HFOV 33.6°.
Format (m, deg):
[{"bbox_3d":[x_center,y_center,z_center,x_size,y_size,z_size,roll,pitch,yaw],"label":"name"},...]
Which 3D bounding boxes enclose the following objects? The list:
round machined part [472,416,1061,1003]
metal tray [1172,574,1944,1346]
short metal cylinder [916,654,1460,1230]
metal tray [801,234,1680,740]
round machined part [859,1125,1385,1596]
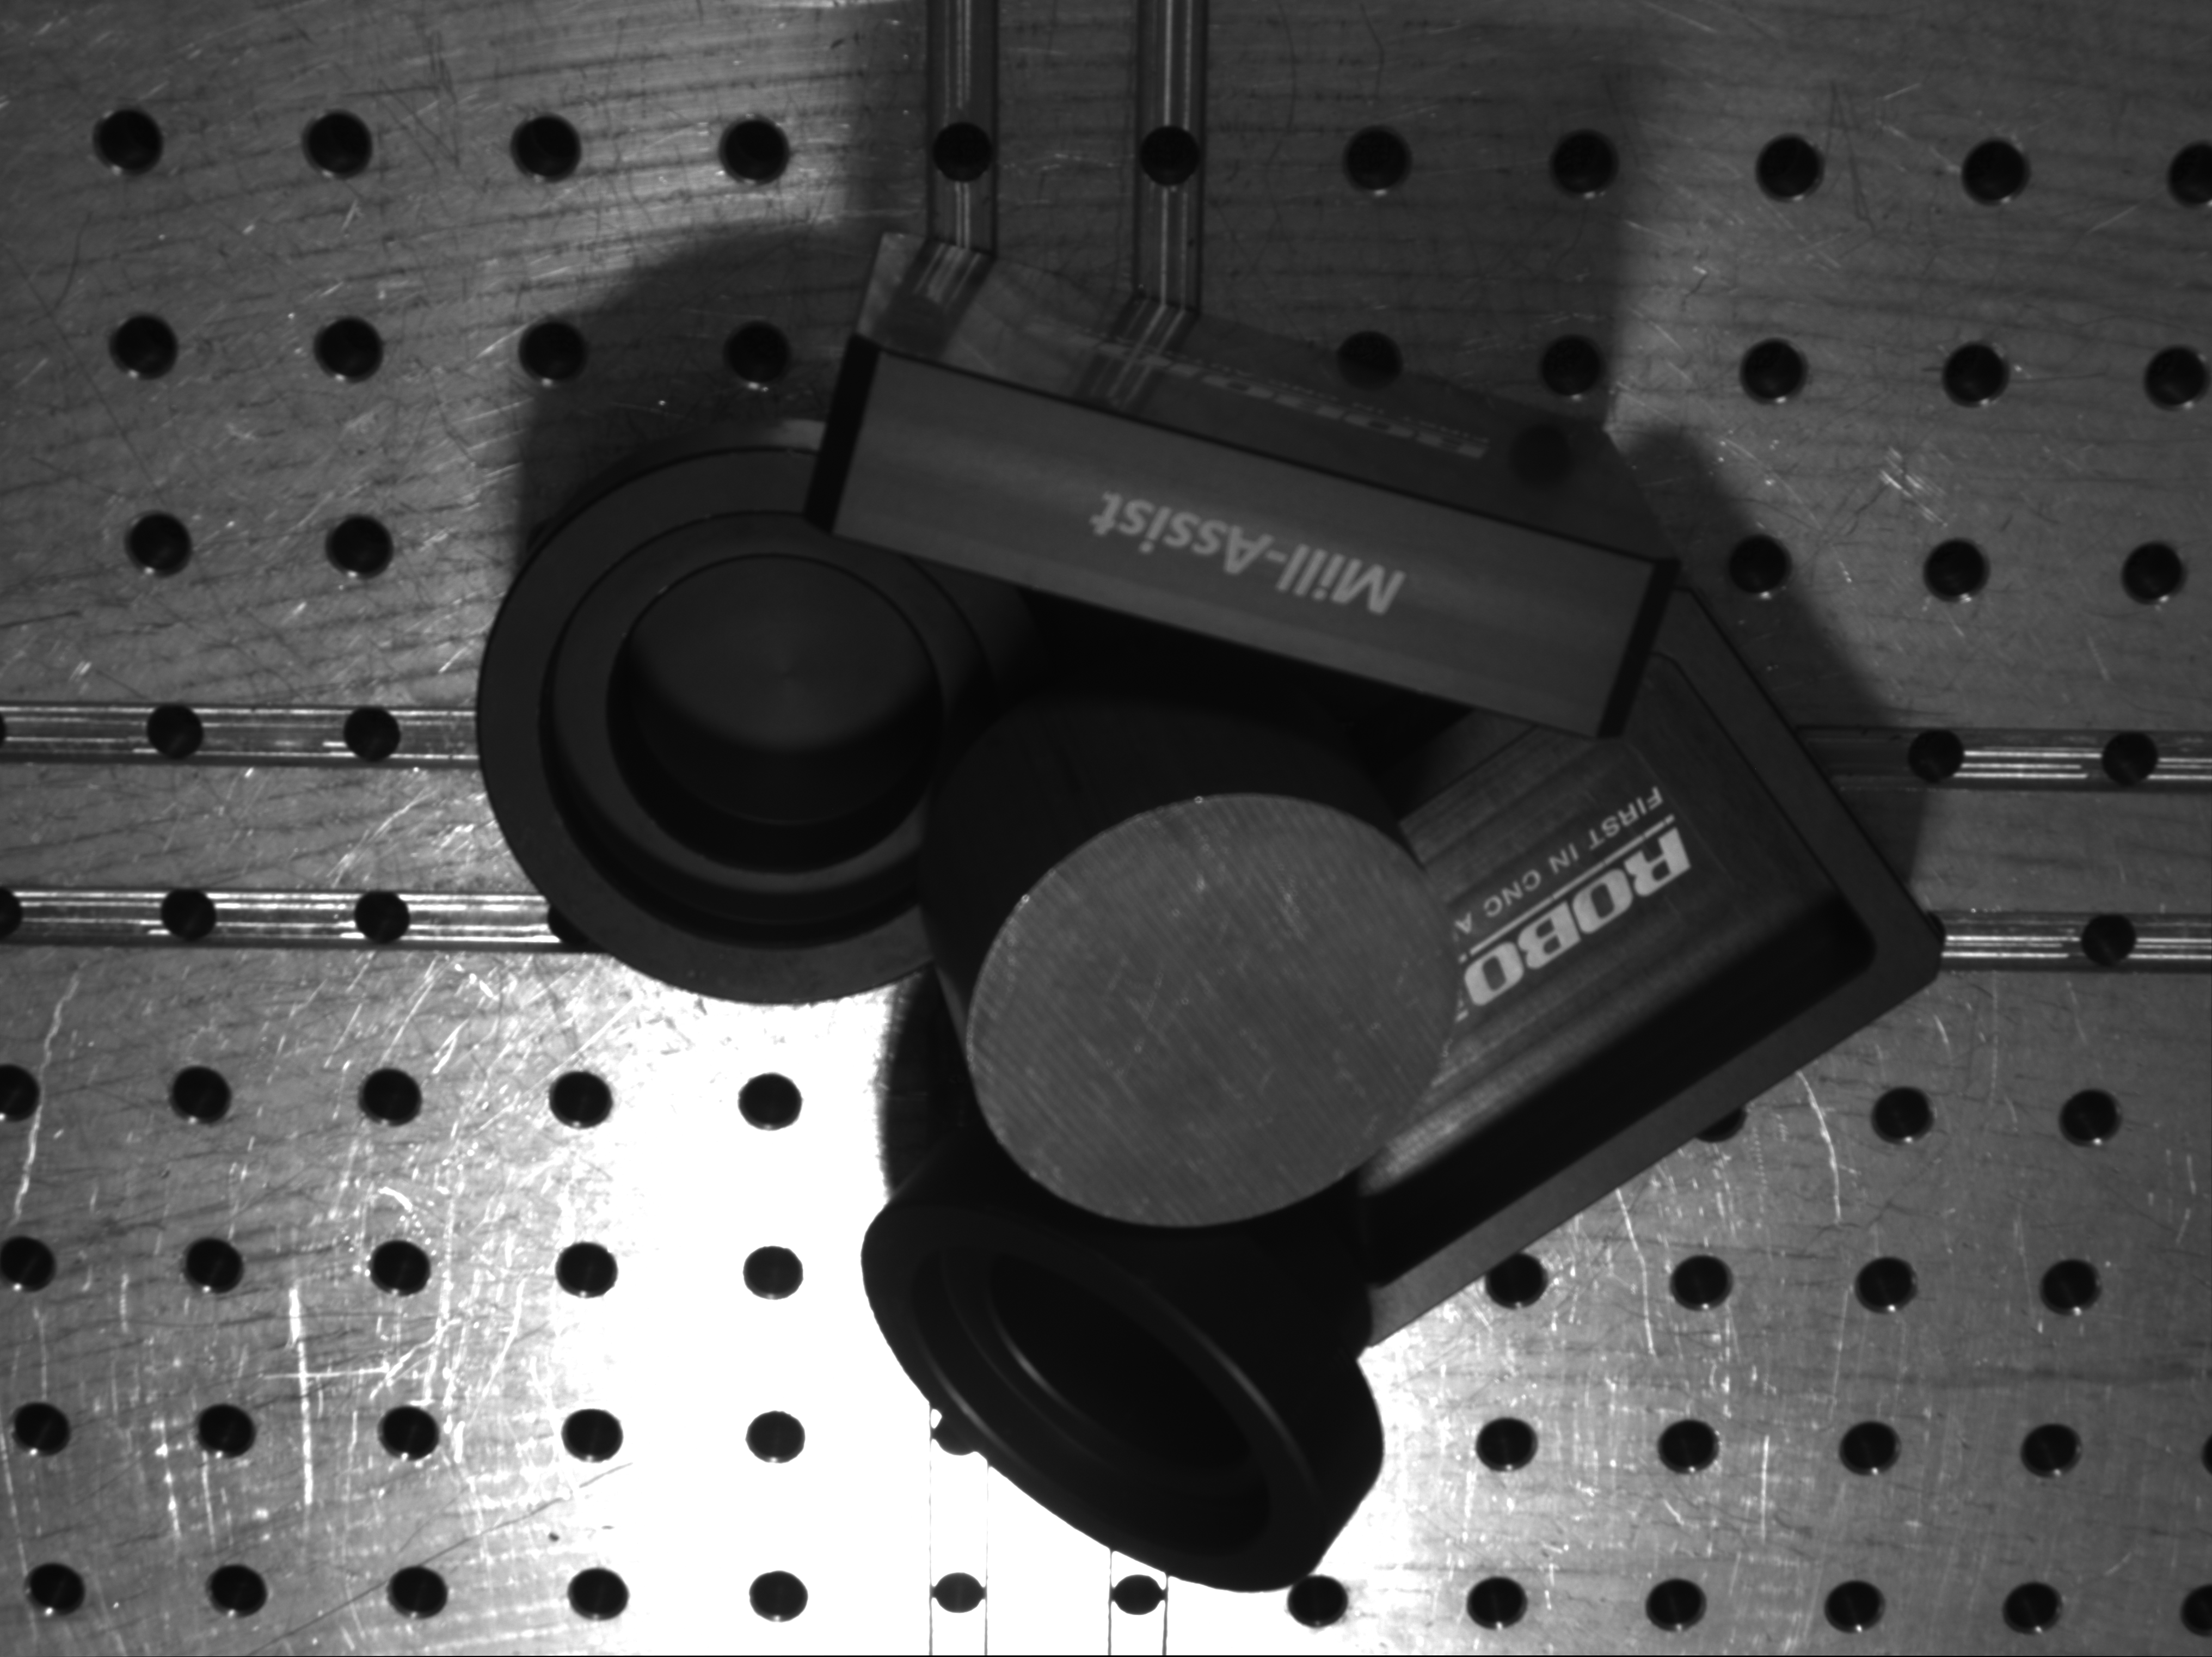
[{"bbox_3d":[-0.056,-0.023,0.628,0.098,0.042,0.098,0,110,-1],"label":"round machined part"},{"bbox_3d":[0.070,0.022,0.651,0.130,0.030,0.090,-35,107,11],"label":"metal tray"},{"bbox_3d":[0.012,0.018,0.599,0.080,0.050,0.080,-6,119,-11],"label":"short metal cylinder"},{"bbox_3d":[0.020,-0.057,0.590,0.130,0.090,0.030,15,109,-6],"label":"metal tray"},{"bbox_3d":[0.008,0.087,0.650,0.098,0.042,0.098,27,145,21],"label":"round machined part"}]
